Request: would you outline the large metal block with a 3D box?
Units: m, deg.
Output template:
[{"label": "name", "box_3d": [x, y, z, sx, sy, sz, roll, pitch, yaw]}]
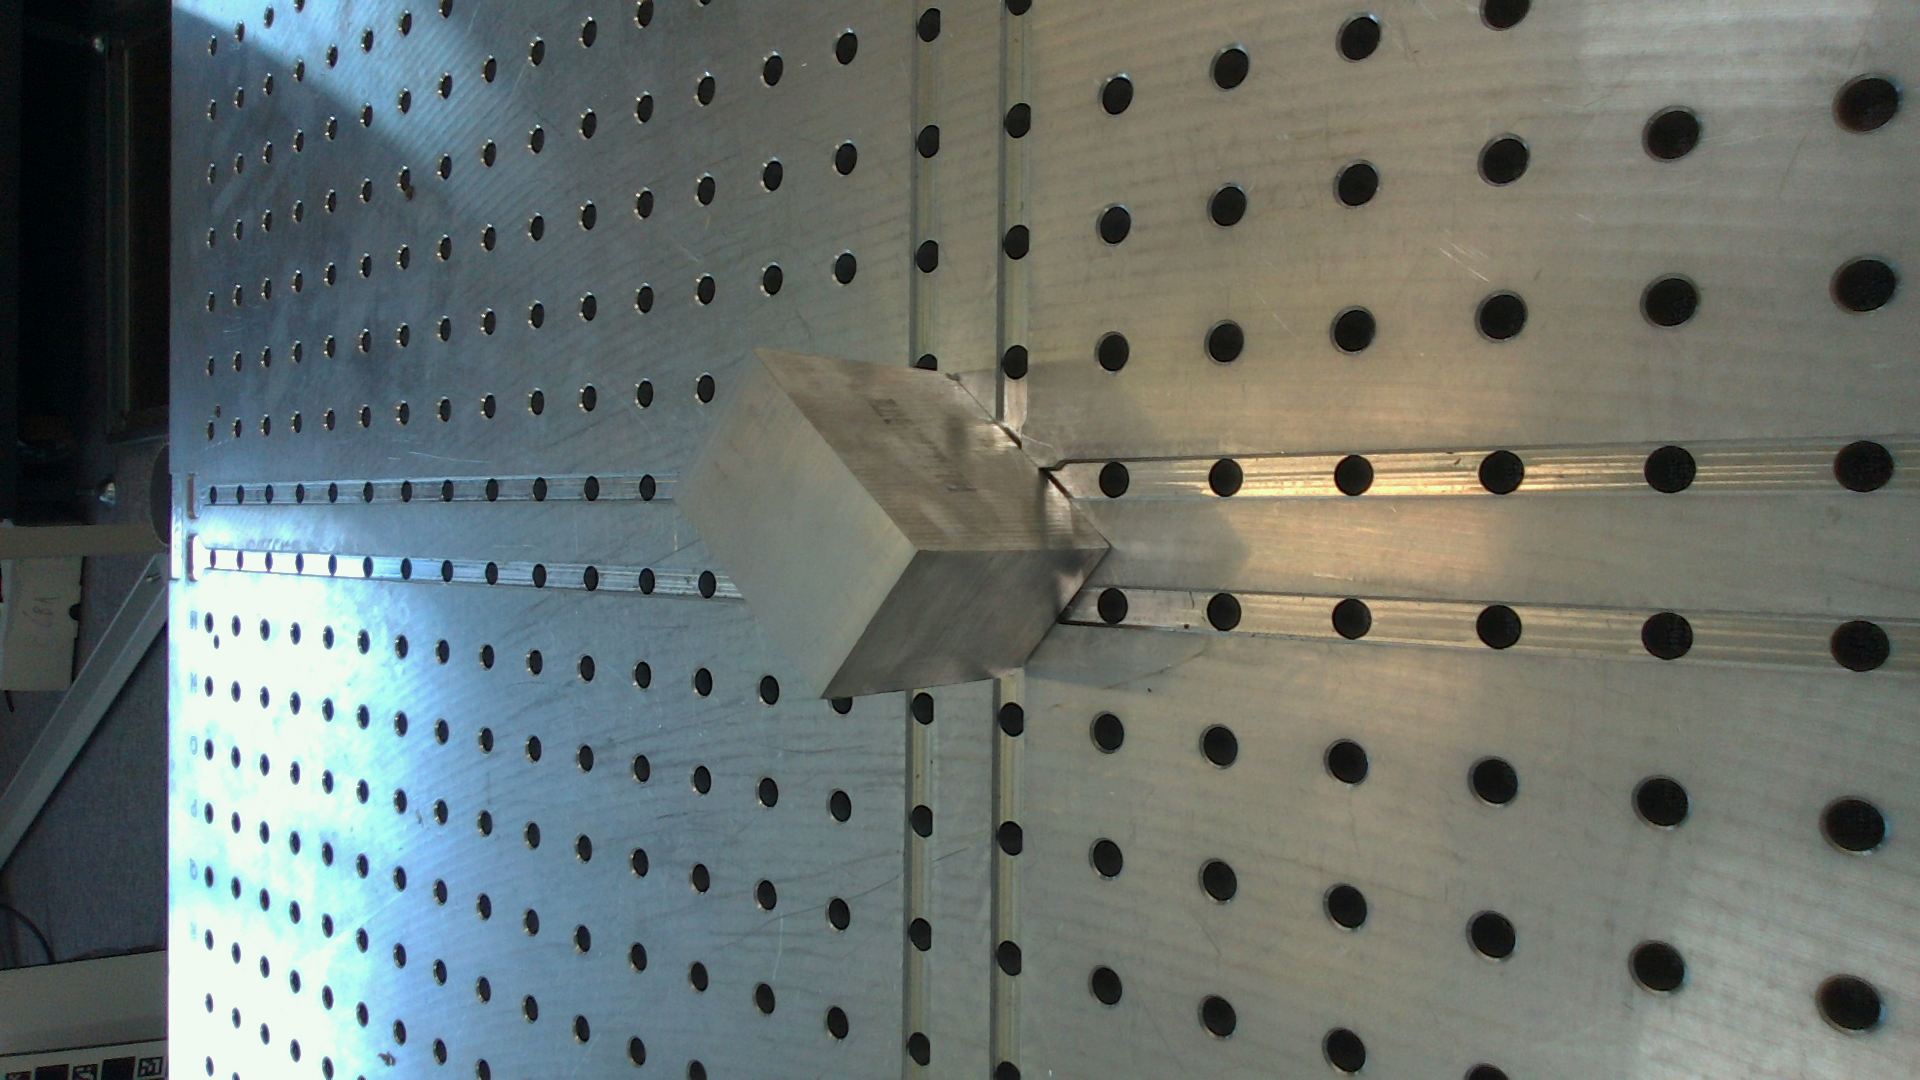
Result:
[{"label": "large metal block", "box_3d": [-0.019, -0.006, 0.378, 0.080, 0.080, 0.050, 49, 119, 29]}]
